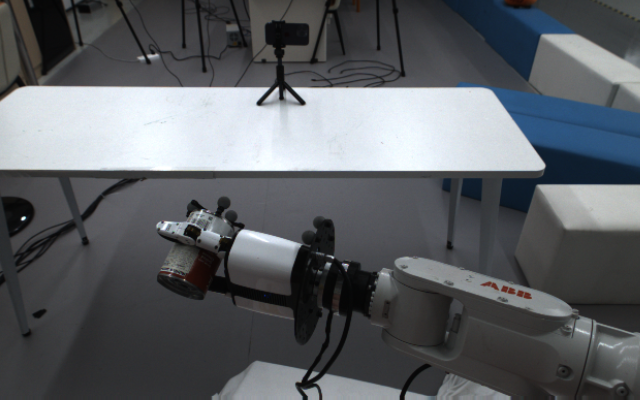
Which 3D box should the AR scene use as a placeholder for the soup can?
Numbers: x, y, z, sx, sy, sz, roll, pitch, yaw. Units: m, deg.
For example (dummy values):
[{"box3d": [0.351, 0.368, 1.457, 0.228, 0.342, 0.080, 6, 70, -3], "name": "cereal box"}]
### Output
[{"box3d": [-0.163, 0.072, 0.641, 0.067, 0.067, 0.101, 12, 59, 14], "name": "soup can"}]
